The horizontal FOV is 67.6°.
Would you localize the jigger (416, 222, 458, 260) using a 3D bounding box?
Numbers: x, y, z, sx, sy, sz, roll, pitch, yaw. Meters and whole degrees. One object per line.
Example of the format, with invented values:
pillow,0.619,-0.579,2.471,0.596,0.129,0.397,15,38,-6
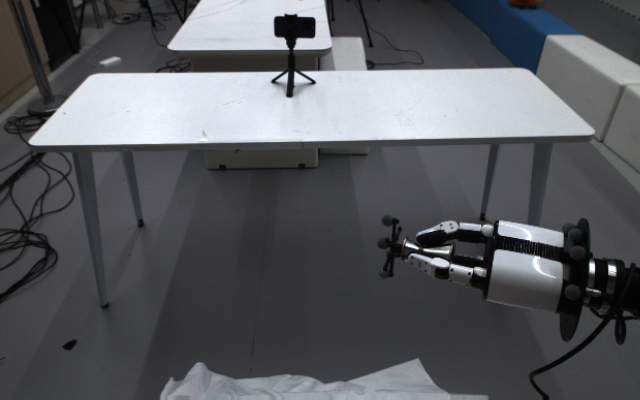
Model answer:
jigger,0.160,0.073,0.686,0.071,0.043,0.043,7,34,21
